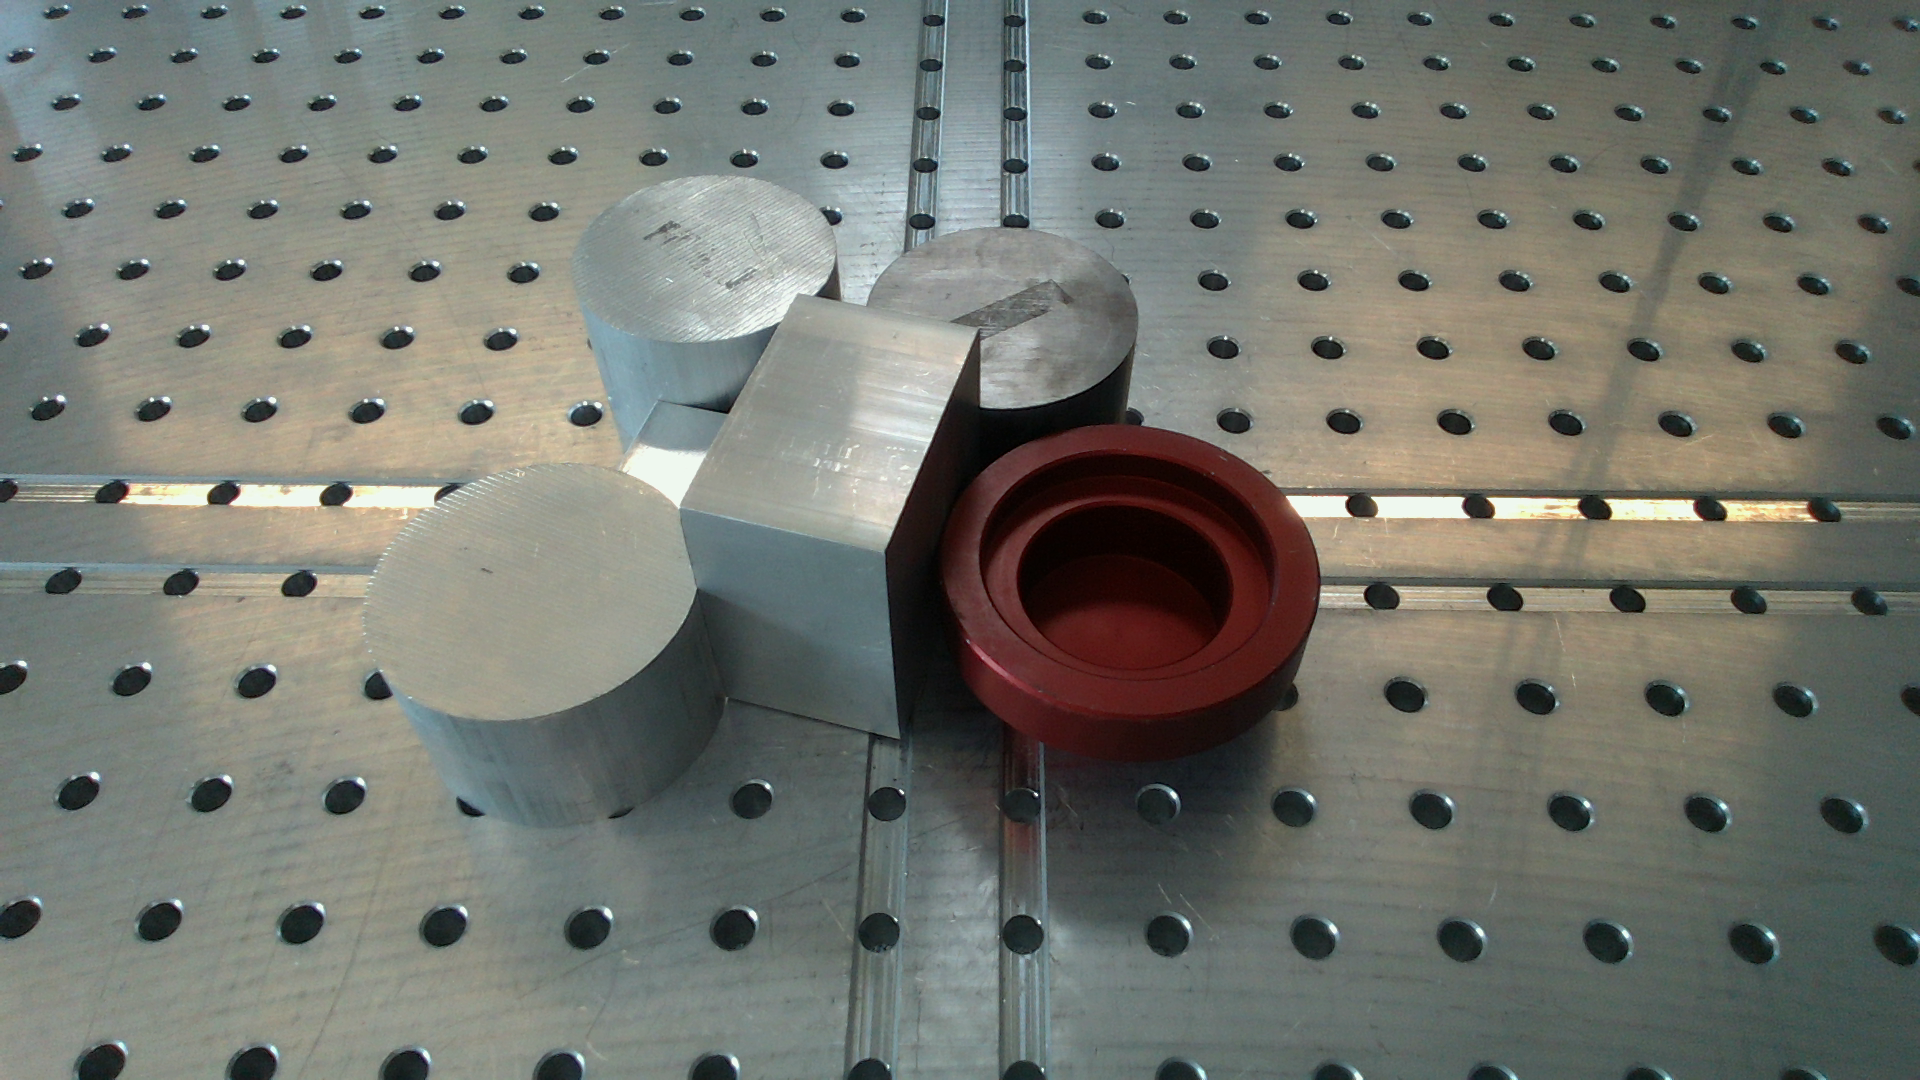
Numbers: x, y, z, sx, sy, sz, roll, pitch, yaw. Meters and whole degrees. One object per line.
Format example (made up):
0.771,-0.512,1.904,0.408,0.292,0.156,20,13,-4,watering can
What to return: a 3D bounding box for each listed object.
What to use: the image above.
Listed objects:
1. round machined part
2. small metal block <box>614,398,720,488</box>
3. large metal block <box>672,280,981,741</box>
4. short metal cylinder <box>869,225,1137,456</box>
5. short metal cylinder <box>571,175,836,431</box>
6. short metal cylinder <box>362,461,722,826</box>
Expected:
0.043,0.018,0.368,0.098,0.042,0.098,0,50,0,round machined part
-0.075,-0.011,0.403,0.050,0.025,0.050,11,51,10,small metal block
-0.030,-0.007,0.361,0.050,0.080,0.080,12,51,10,large metal block
0.012,-0.051,0.421,0.080,0.050,0.080,0,50,0,short metal cylinder
-0.078,-0.071,0.438,0.080,0.050,0.080,0,50,0,short metal cylinder
-0.105,0.026,0.356,0.080,0.050,0.080,0,50,0,short metal cylinder
